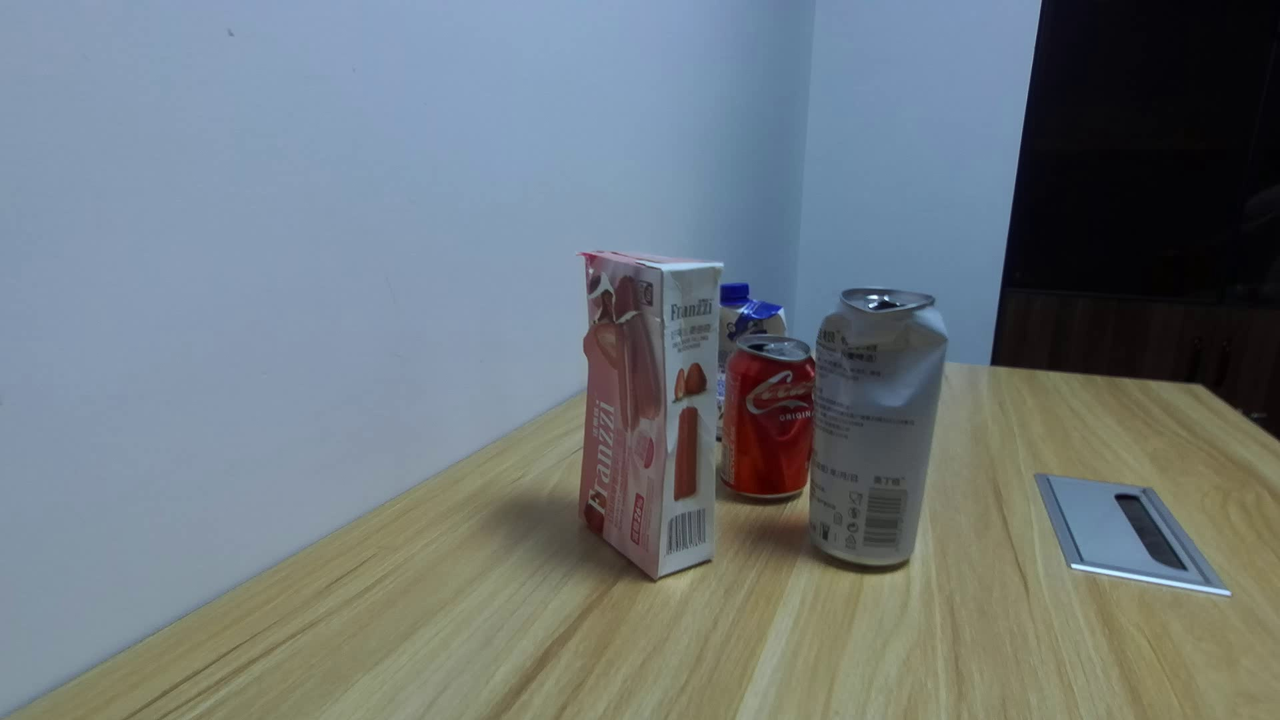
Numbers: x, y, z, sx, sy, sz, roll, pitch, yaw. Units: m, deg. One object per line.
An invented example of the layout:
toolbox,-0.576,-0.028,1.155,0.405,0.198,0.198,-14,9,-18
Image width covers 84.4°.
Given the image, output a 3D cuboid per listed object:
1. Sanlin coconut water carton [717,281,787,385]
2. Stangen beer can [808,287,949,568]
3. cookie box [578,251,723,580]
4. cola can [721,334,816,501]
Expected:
Sanlin coconut water carton,0.091,0.006,0.629,0.068,0.144,0.057,12,17,26
Stangen beer can,0.142,0.042,0.432,0.066,0.166,0.066,-1,15,-7
cookie box,0.002,0.029,0.435,0.060,0.186,0.104,-5,14,-30
cola can,0.097,0.041,0.534,0.072,0.117,0.065,-5,17,-19
